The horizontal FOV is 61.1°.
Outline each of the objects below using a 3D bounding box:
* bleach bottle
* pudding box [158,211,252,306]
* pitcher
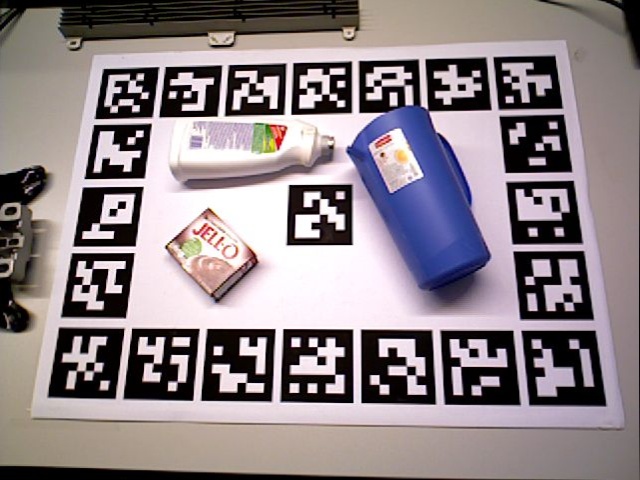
[{"bbox_3d":[-0.108,-0.141,0.835,0.250,0.068,0.102,-3,76,1],"label":"bleach bottle"},{"bbox_3d":[-0.169,0.027,0.795,0.089,0.039,0.113,-41,76,-15],"label":"pudding box"},{"bbox_3d":[0.149,-0.046,0.769,0.185,0.136,0.242,-14,74,-37],"label":"pitcher"}]
